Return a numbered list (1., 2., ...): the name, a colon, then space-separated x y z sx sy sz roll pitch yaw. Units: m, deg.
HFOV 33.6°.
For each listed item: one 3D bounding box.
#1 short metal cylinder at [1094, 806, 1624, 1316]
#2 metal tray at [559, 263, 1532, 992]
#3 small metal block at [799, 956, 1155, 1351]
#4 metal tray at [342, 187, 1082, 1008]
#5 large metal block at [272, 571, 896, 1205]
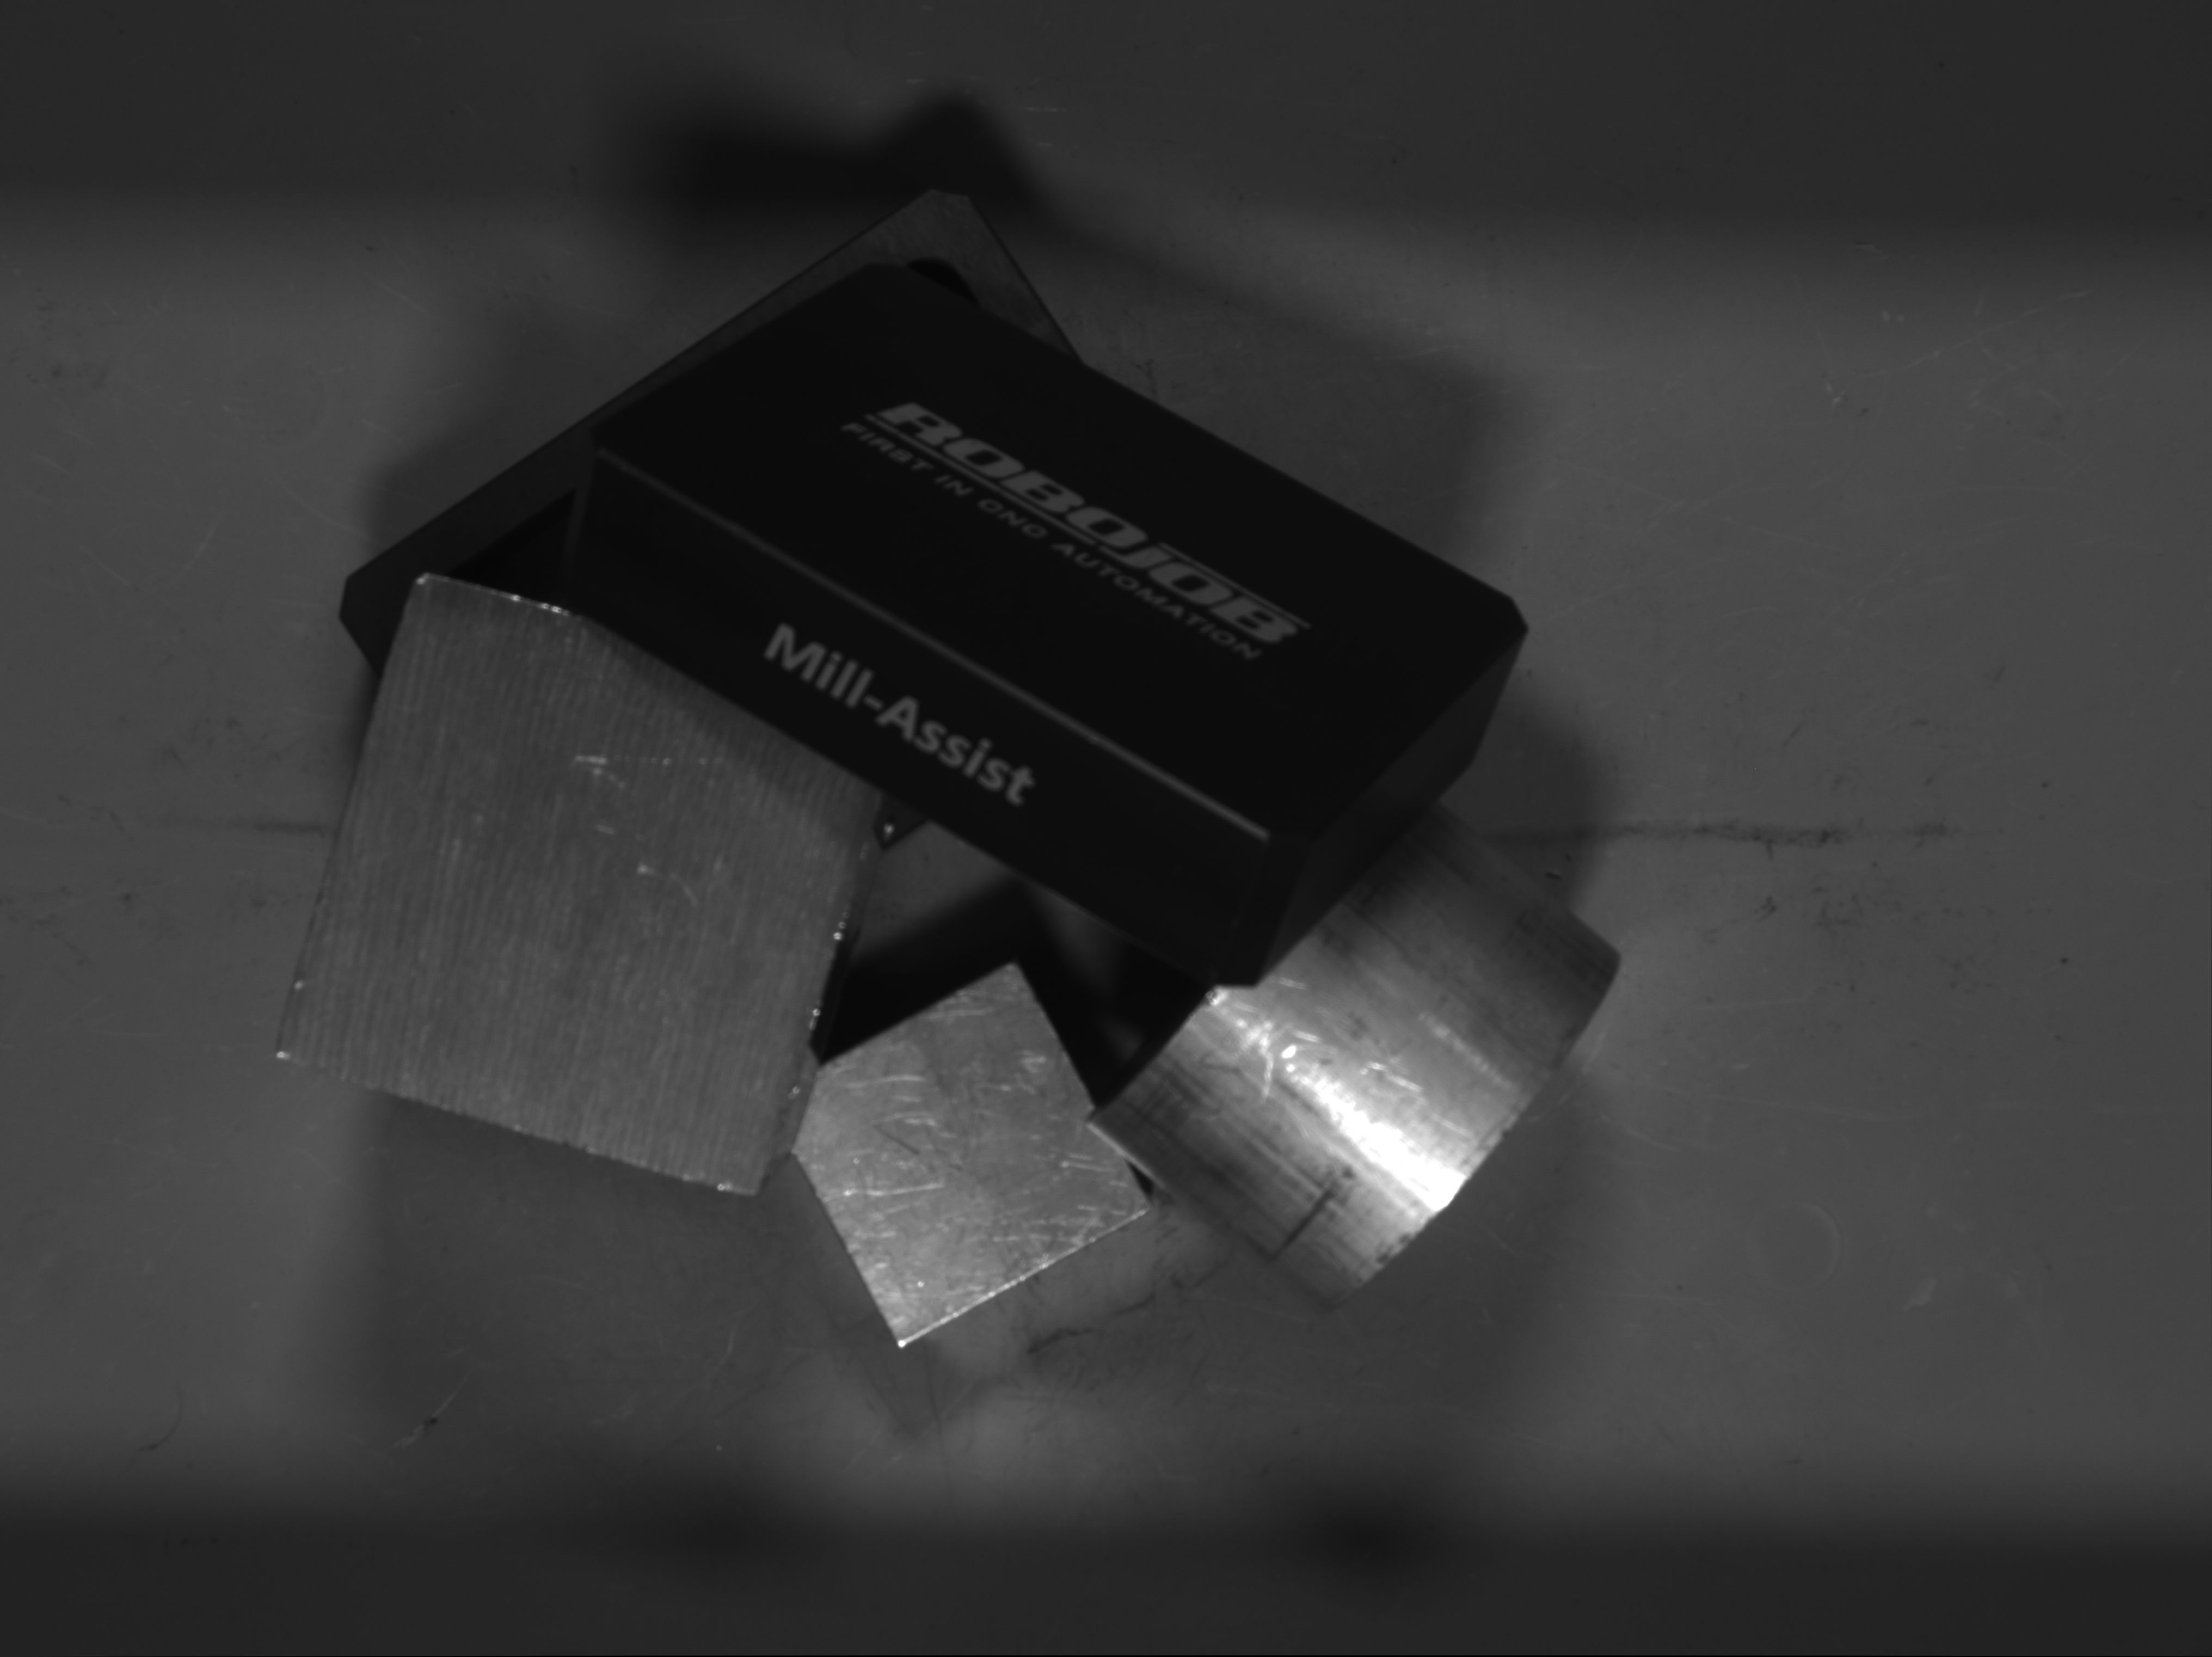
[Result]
1. short metal cylinder: 0.042 0.035 0.617 0.050 0.080 0.080 39 90 0
2. metal tray: -0.009 -0.036 0.582 0.130 0.090 0.030 30 128 14
3. small metal block: -0.025 0.056 0.644 0.050 0.025 0.050 -29 90 0
4. metal tray: -0.054 -0.039 0.641 0.130 0.030 0.090 -34 90 0
5. large metal block: -0.081 0.009 0.599 0.080 0.050 0.080 16 90 0
